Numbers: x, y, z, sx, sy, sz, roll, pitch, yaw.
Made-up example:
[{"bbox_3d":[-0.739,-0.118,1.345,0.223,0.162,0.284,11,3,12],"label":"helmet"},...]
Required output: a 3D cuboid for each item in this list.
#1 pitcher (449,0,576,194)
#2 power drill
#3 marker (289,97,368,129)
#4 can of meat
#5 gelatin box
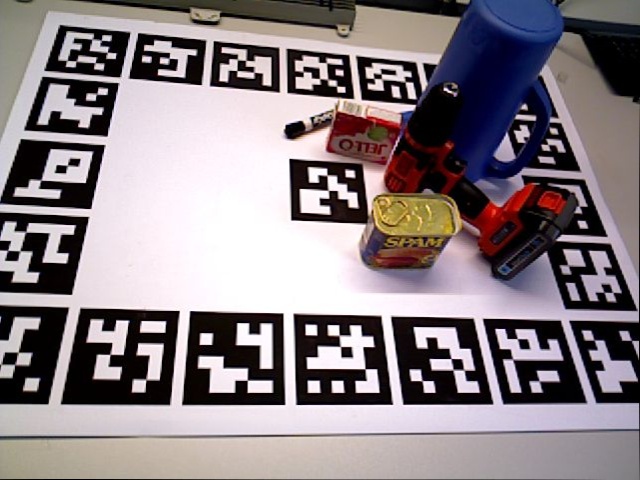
[{"bbox_3d":[0.225,-0.173,0.675,0.189,0.247,0.130,29,60,15],"label":"pitcher"},{"bbox_3d":[0.175,-0.079,0.634,0.187,0.188,0.056,37,60,6],"label":"power drill"},{"bbox_3d":[0.012,-0.177,0.760,0.119,0.020,0.019,-20,64,-20],"label":"marker"},{"bbox_3d":[0.101,-0.005,0.631,0.101,0.086,0.057,4,55,-9],"label":"can of meat"},{"bbox_3d":[0.070,-0.140,0.719,0.089,0.075,0.029,15,60,-4],"label":"gelatin box"}]
